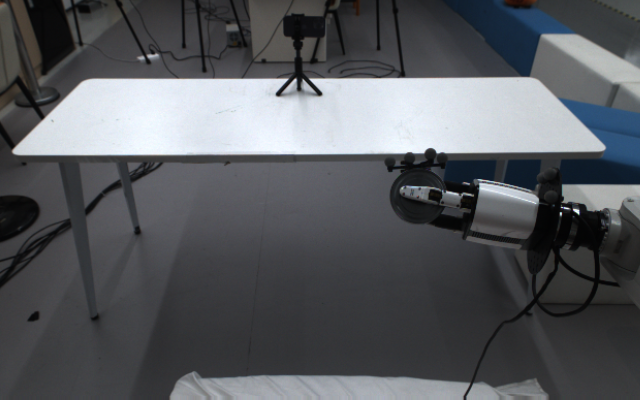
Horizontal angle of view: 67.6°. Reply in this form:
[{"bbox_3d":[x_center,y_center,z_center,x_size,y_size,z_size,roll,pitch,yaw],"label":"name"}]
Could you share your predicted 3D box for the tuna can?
[{"bbox_3d":[0.151,-0.006,0.742,0.085,0.034,0.085,-2,79,10],"label":"tuna can"}]
